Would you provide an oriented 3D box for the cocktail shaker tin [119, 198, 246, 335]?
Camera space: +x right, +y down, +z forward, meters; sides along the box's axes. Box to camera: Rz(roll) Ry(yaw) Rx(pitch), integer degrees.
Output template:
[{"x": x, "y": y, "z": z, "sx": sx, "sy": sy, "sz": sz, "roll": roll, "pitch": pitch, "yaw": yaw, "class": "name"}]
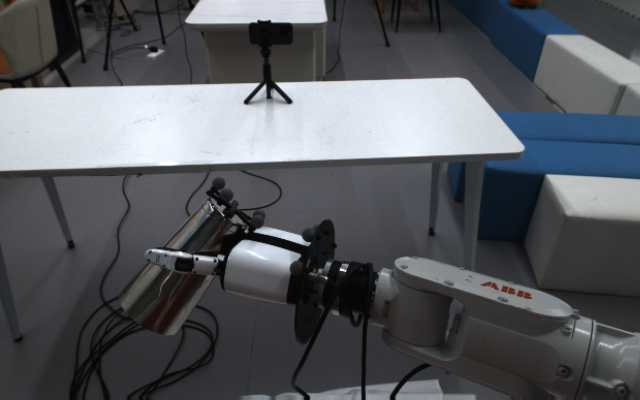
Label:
[{"x": -0.173, "y": 0.081, "z": 0.641, "sx": 0.170, "sy": 0.093, "sz": 0.093, "roll": -50, "pitch": 46, "yaw": 4, "class": "cocktail shaker tin"}]
